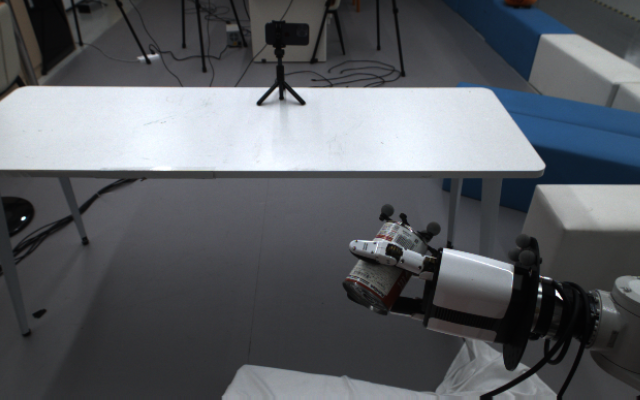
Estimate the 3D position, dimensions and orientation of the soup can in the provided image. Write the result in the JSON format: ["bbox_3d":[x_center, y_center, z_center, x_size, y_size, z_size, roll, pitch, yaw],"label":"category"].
[{"bbox_3d":[0.085,0.083,0.617,0.067,0.067,0.101,25,67,30],"label":"soup can"}]
